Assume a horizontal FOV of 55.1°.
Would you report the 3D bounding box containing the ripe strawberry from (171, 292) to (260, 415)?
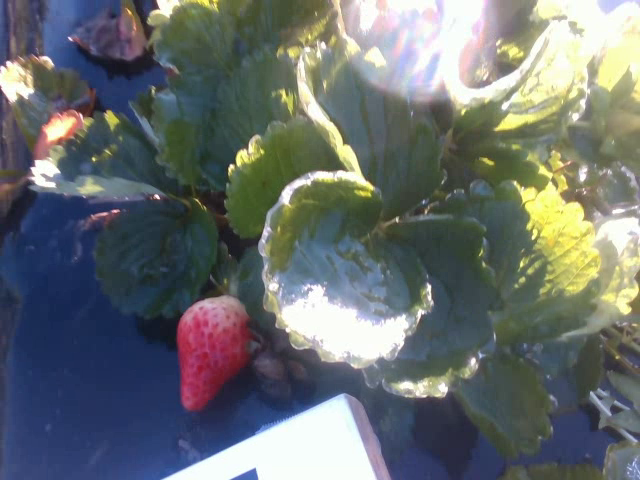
[{"bbox_3d":[-0.063,0.055,0.306,0.040,0.065,0.040,13,-16,26],"label":"ripe strawberry"}]
